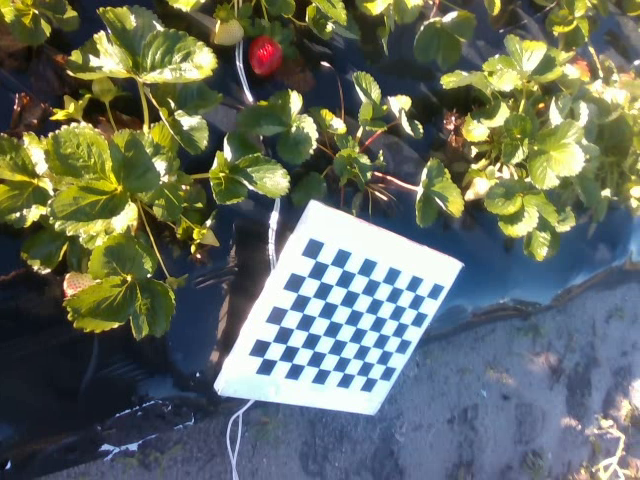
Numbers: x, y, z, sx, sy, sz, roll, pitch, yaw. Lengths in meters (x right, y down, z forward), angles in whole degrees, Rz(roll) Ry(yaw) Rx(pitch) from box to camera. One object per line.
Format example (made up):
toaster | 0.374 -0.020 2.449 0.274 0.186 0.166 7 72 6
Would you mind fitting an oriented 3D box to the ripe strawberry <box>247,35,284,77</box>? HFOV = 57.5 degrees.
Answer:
ripe strawberry | -0.071 -0.260 0.817 0.040 0.080 0.063 -7 -44 29
